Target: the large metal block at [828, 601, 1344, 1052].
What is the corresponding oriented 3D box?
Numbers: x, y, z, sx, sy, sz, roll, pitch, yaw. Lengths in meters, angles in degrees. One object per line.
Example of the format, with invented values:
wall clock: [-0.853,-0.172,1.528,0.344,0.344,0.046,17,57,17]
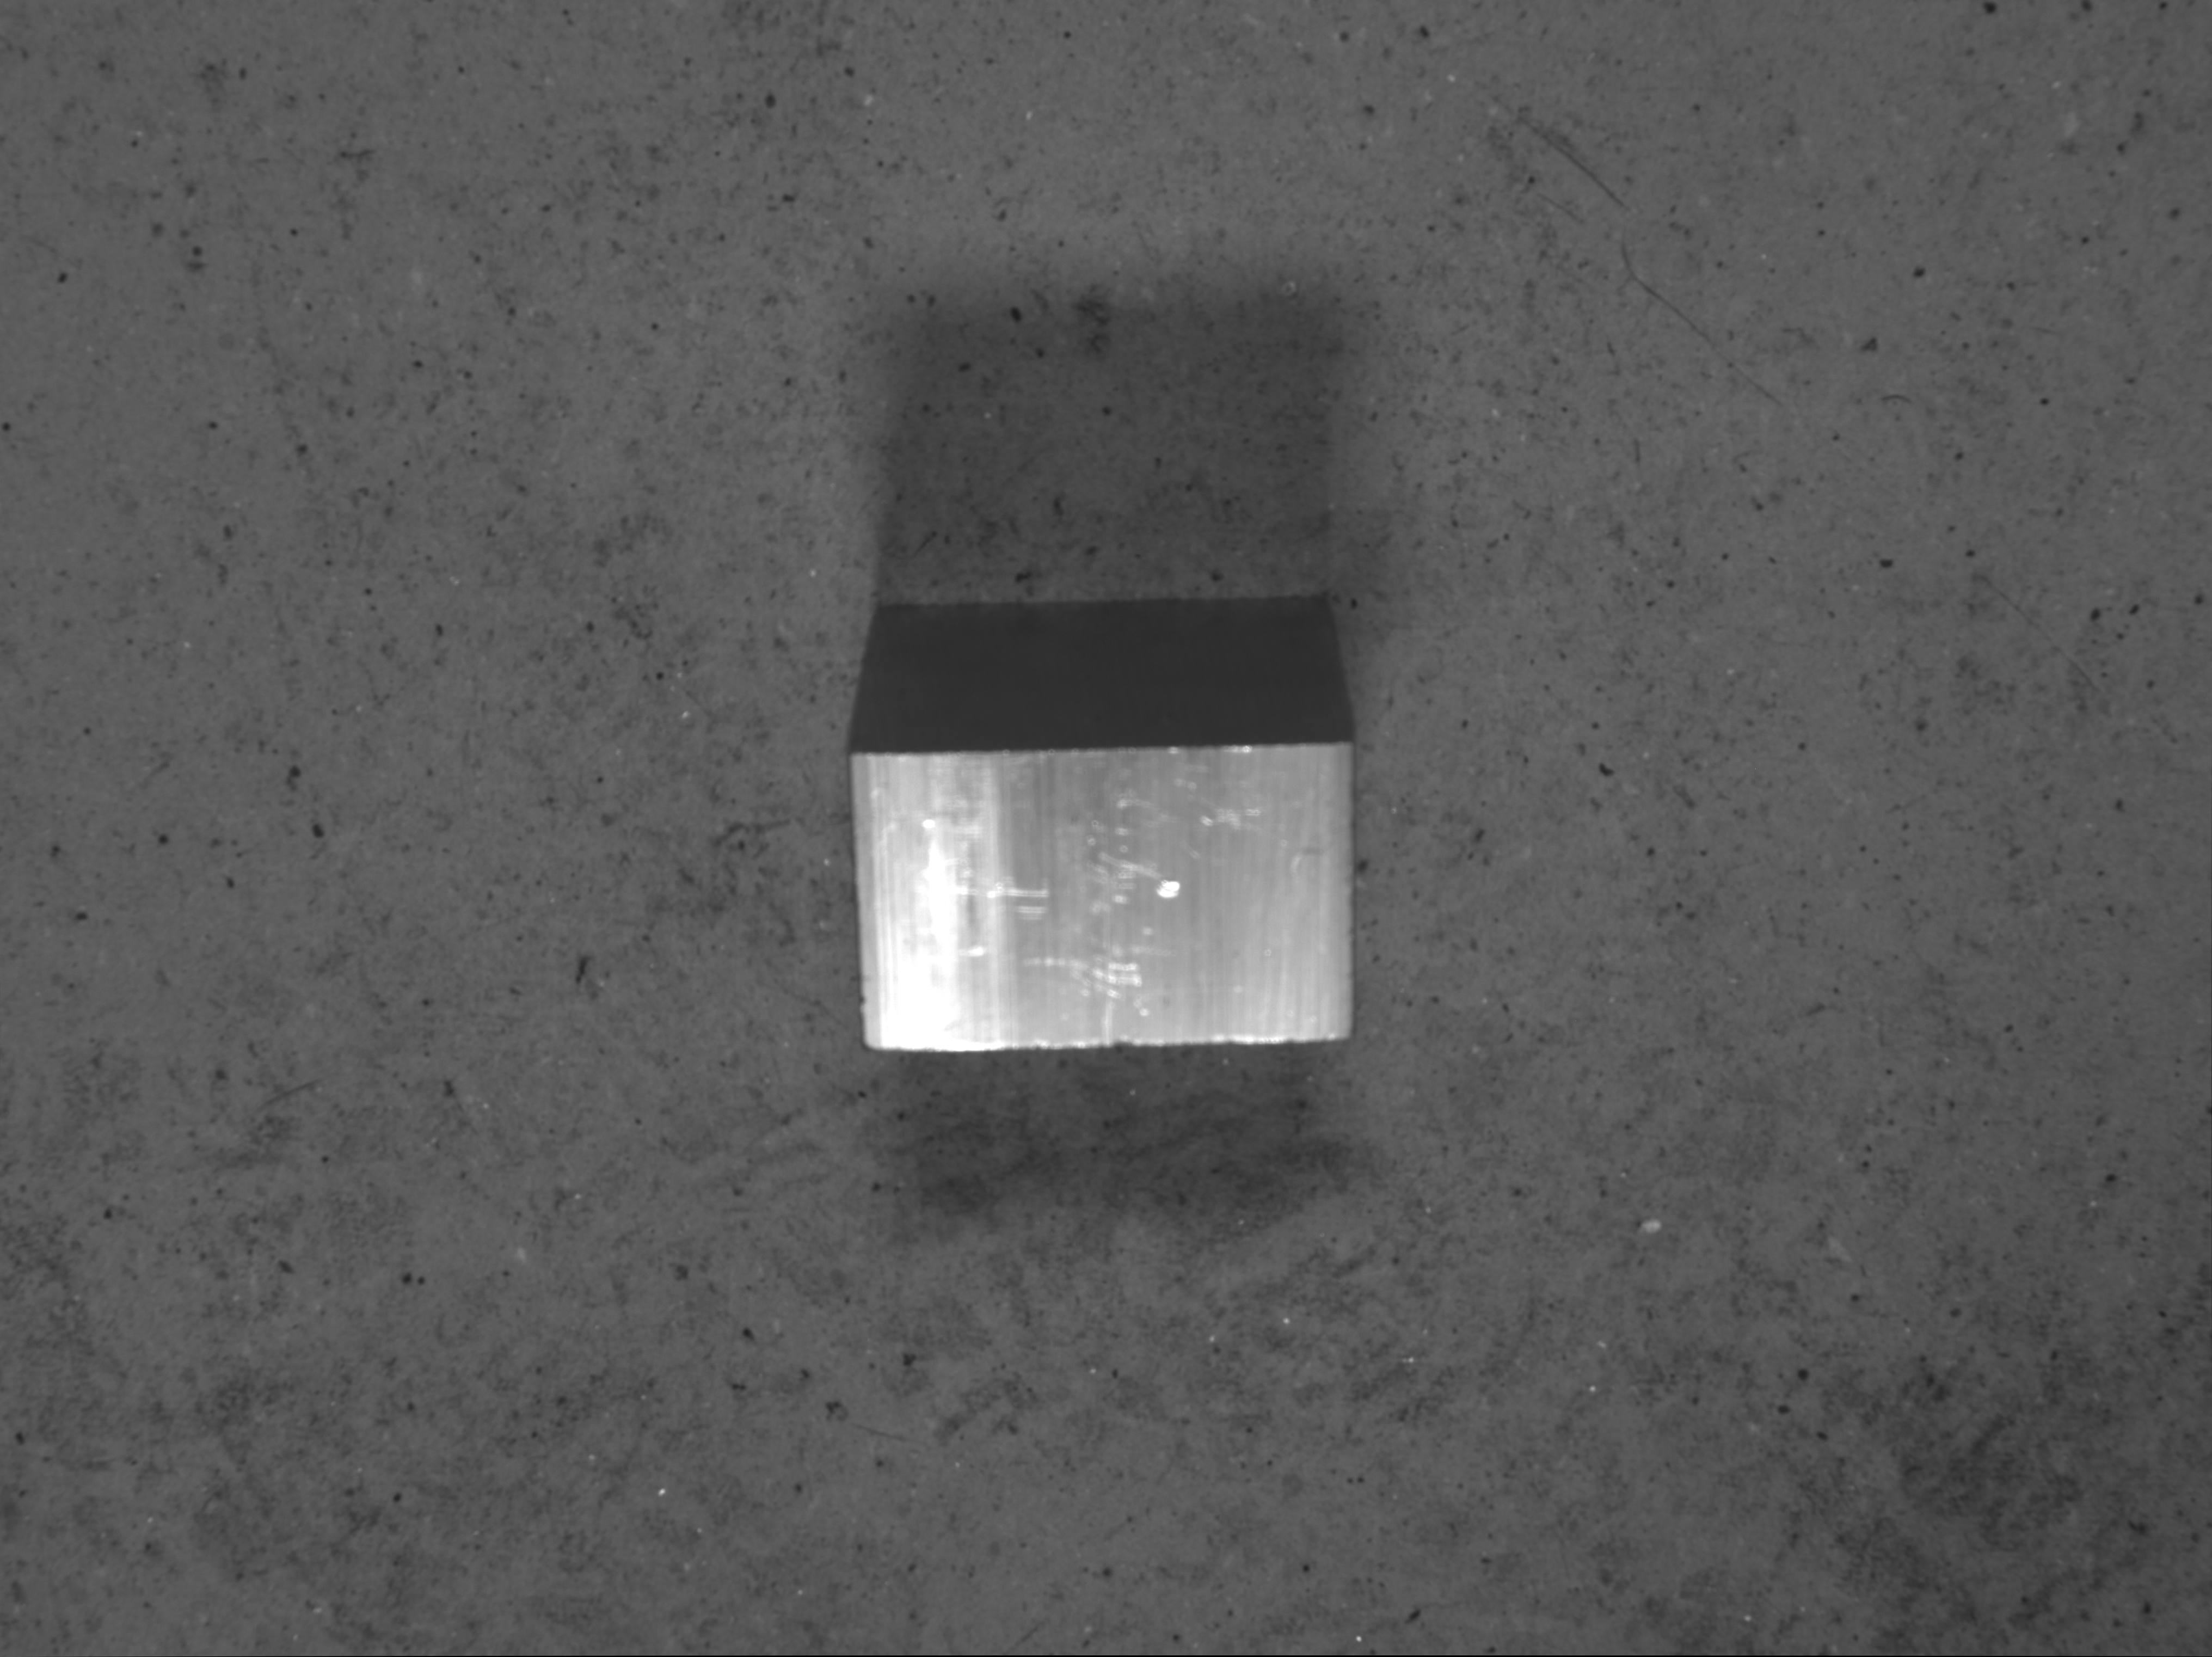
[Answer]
large metal block: [-0.003,-0.002,0.613,0.080,0.080,0.050,-1,110,0]
